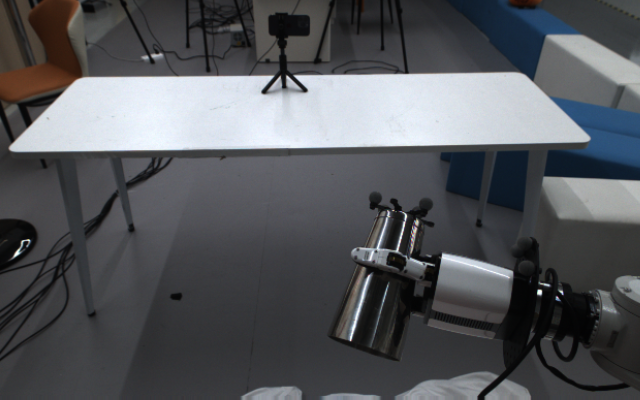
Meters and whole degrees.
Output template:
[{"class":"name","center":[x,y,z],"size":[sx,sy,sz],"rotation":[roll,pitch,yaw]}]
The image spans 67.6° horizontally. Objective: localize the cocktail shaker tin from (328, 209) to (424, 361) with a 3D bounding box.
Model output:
[{"class":"cocktail shaker tin","center":[0.078,0.101,0.605],"size":[0.093,0.093,0.170],"rotation":[14,70,17]}]
